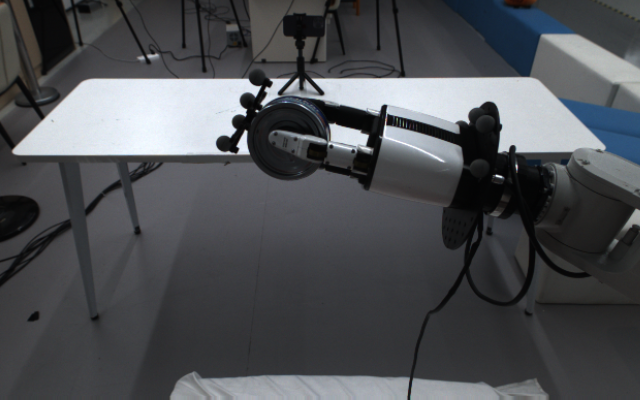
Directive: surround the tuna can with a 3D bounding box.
[{"bbox_3d":[-0.028,-0.062,0.511,0.085,0.085,0.034,3,21,2],"label":"tuna can"}]
